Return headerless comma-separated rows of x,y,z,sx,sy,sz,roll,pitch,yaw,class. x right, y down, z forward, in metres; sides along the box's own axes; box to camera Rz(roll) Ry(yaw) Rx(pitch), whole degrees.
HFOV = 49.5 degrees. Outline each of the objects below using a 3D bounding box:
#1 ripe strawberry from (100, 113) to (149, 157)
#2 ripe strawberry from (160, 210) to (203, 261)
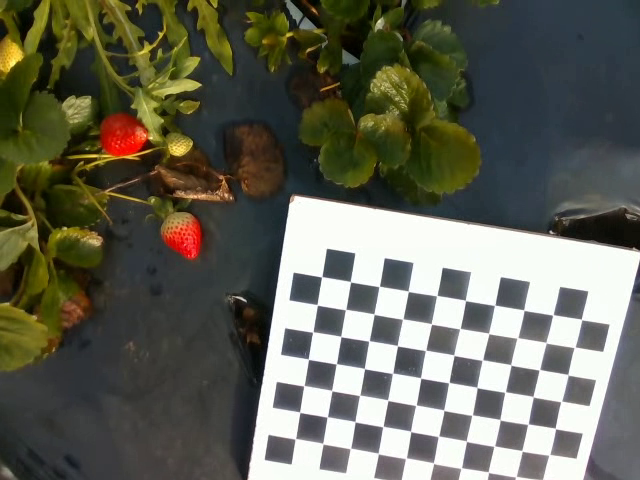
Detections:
-0.153,-0.083,0.528,0.048,0.040,0.031,5,14,44,ripe strawberry
-0.112,-0.003,0.544,0.035,0.043,0.030,-28,4,6,ripe strawberry
